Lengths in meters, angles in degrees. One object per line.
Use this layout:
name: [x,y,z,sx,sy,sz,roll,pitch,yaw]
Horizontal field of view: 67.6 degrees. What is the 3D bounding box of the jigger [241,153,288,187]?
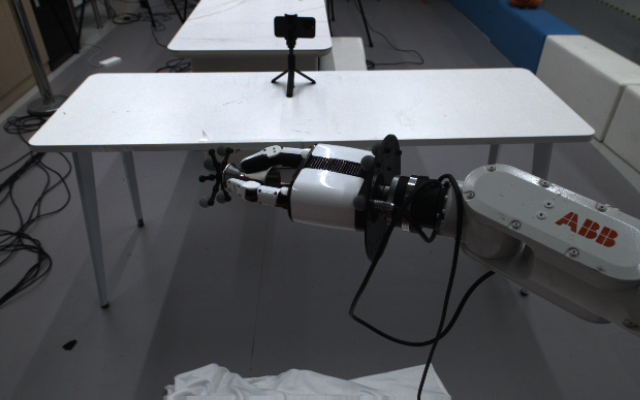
jigger: [-0.088,-0.030,0.659,0.071,0.043,0.043,7,34,23]
